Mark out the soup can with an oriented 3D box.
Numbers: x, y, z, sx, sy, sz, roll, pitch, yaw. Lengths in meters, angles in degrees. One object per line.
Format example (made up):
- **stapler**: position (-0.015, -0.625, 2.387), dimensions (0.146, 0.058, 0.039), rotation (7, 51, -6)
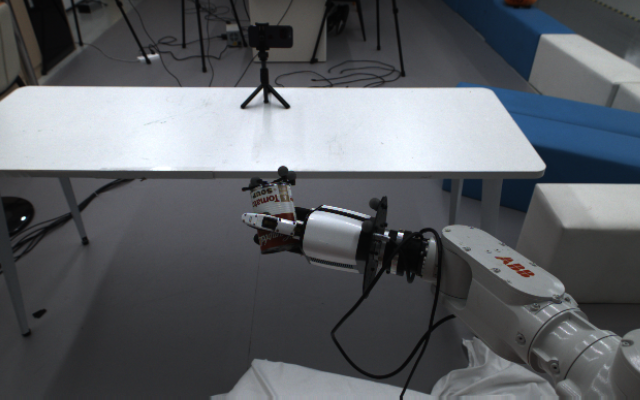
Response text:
- **soup can**: position (-0.070, 0.031, 0.773), dimensions (0.067, 0.067, 0.101), rotation (-10, 80, -16)
